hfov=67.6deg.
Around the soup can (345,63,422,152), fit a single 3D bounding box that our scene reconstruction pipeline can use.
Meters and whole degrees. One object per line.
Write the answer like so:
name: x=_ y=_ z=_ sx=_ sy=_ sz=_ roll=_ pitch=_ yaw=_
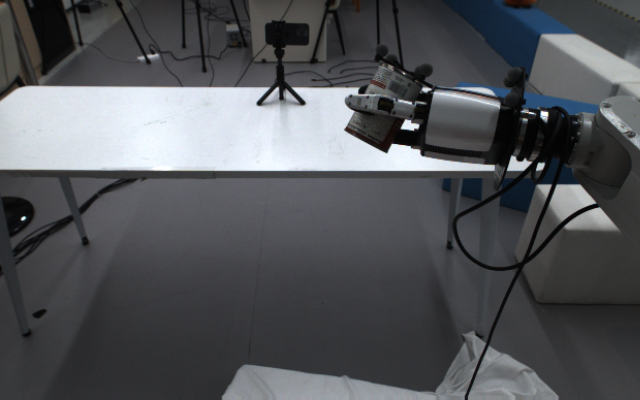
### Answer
soup can: x=0.086 y=-0.125 z=0.659 sx=0.067 sy=0.101 sz=0.067 roll=27 pitch=10 yaw=-5
